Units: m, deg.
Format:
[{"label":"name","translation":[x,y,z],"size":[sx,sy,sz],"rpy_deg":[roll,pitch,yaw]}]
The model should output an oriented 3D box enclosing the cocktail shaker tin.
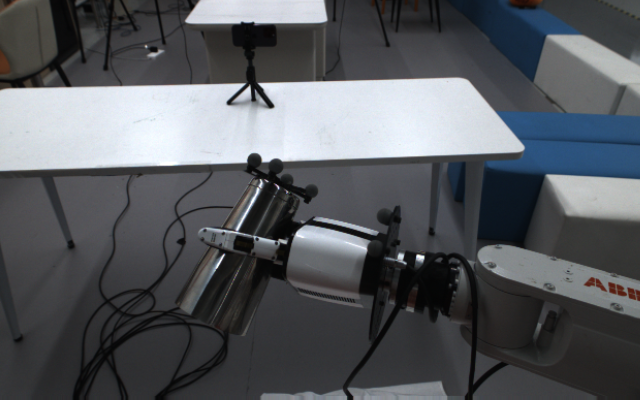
[{"label":"cocktail shaker tin","translation":[-0.088,0.061,0.577],"size":[0.093,0.093,0.170],"rpy_deg":[21,81,25]}]
